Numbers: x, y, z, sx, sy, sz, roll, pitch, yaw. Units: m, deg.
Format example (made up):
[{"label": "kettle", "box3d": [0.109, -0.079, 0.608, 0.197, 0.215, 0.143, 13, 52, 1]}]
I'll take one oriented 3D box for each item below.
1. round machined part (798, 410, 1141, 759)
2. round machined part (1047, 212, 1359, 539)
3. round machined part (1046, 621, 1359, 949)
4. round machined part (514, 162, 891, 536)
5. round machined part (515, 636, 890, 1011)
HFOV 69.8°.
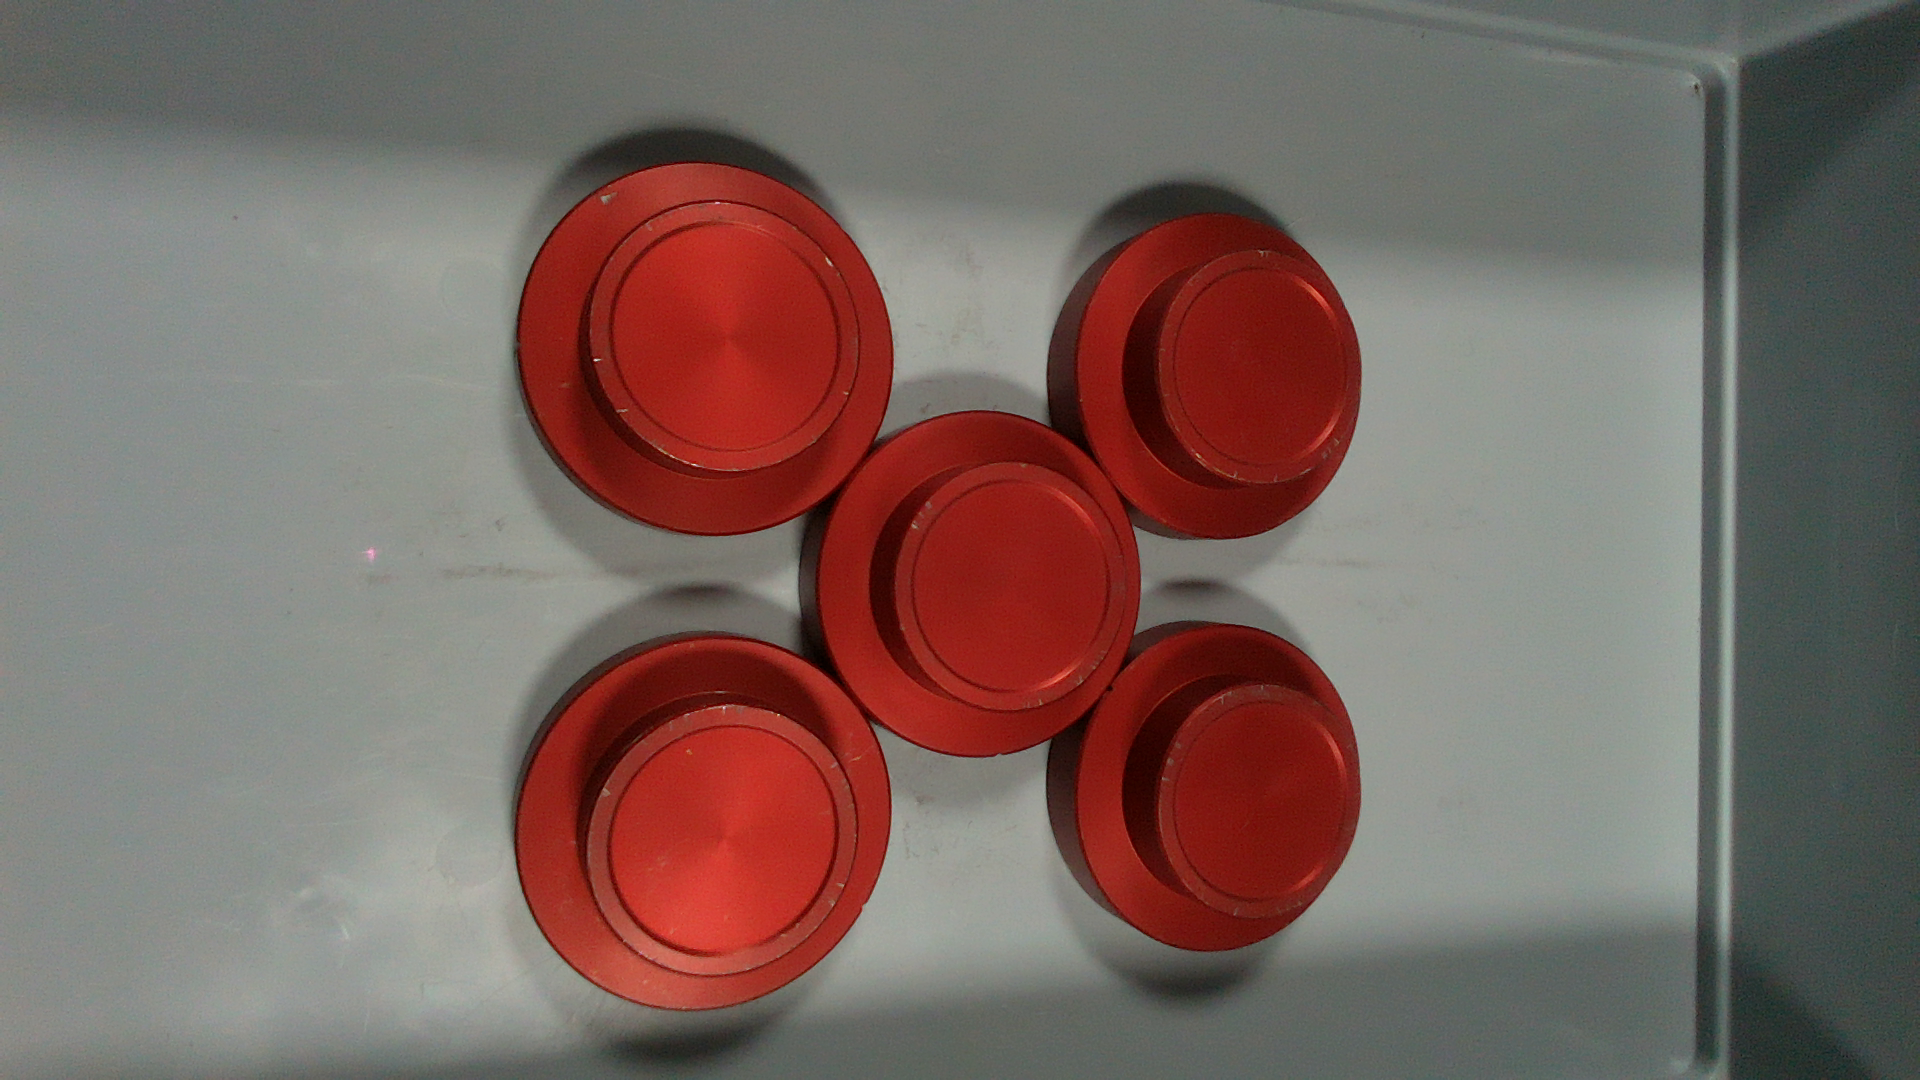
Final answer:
[{"label": "round machined part", "box3d": [0.007, 0.012, 0.385, 0.098, 0.042, 0.098, 0, 90, -20]}, {"label": "round machined part", "box3d": [0.079, -0.049, 0.412, 0.098, 0.042, 0.098, 0, 90, -20]}, {"label": "round machined part", "box3d": [0.079, 0.074, 0.412, 0.098, 0.042, 0.098, 0, 90, -20]}, {"label": "round machined part", "box3d": [-0.065, -0.050, 0.360, 0.098, 0.042, 0.098, 0, 90, -20]}, {"label": "round machined part", "box3d": [-0.065, 0.074, 0.360, 0.098, 0.042, 0.098, 0, 90, -20]}]
